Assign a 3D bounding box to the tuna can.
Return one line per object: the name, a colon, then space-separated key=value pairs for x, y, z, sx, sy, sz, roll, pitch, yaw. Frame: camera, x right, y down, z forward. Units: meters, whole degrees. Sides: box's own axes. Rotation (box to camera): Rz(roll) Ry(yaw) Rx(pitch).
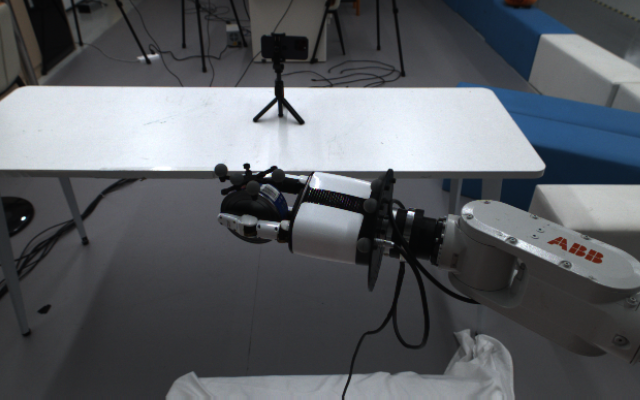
tuna can: x=-0.086 y=0.014 z=0.650 sx=0.085 sy=0.085 sz=0.034 roll=11 pitch=34 yaw=12
